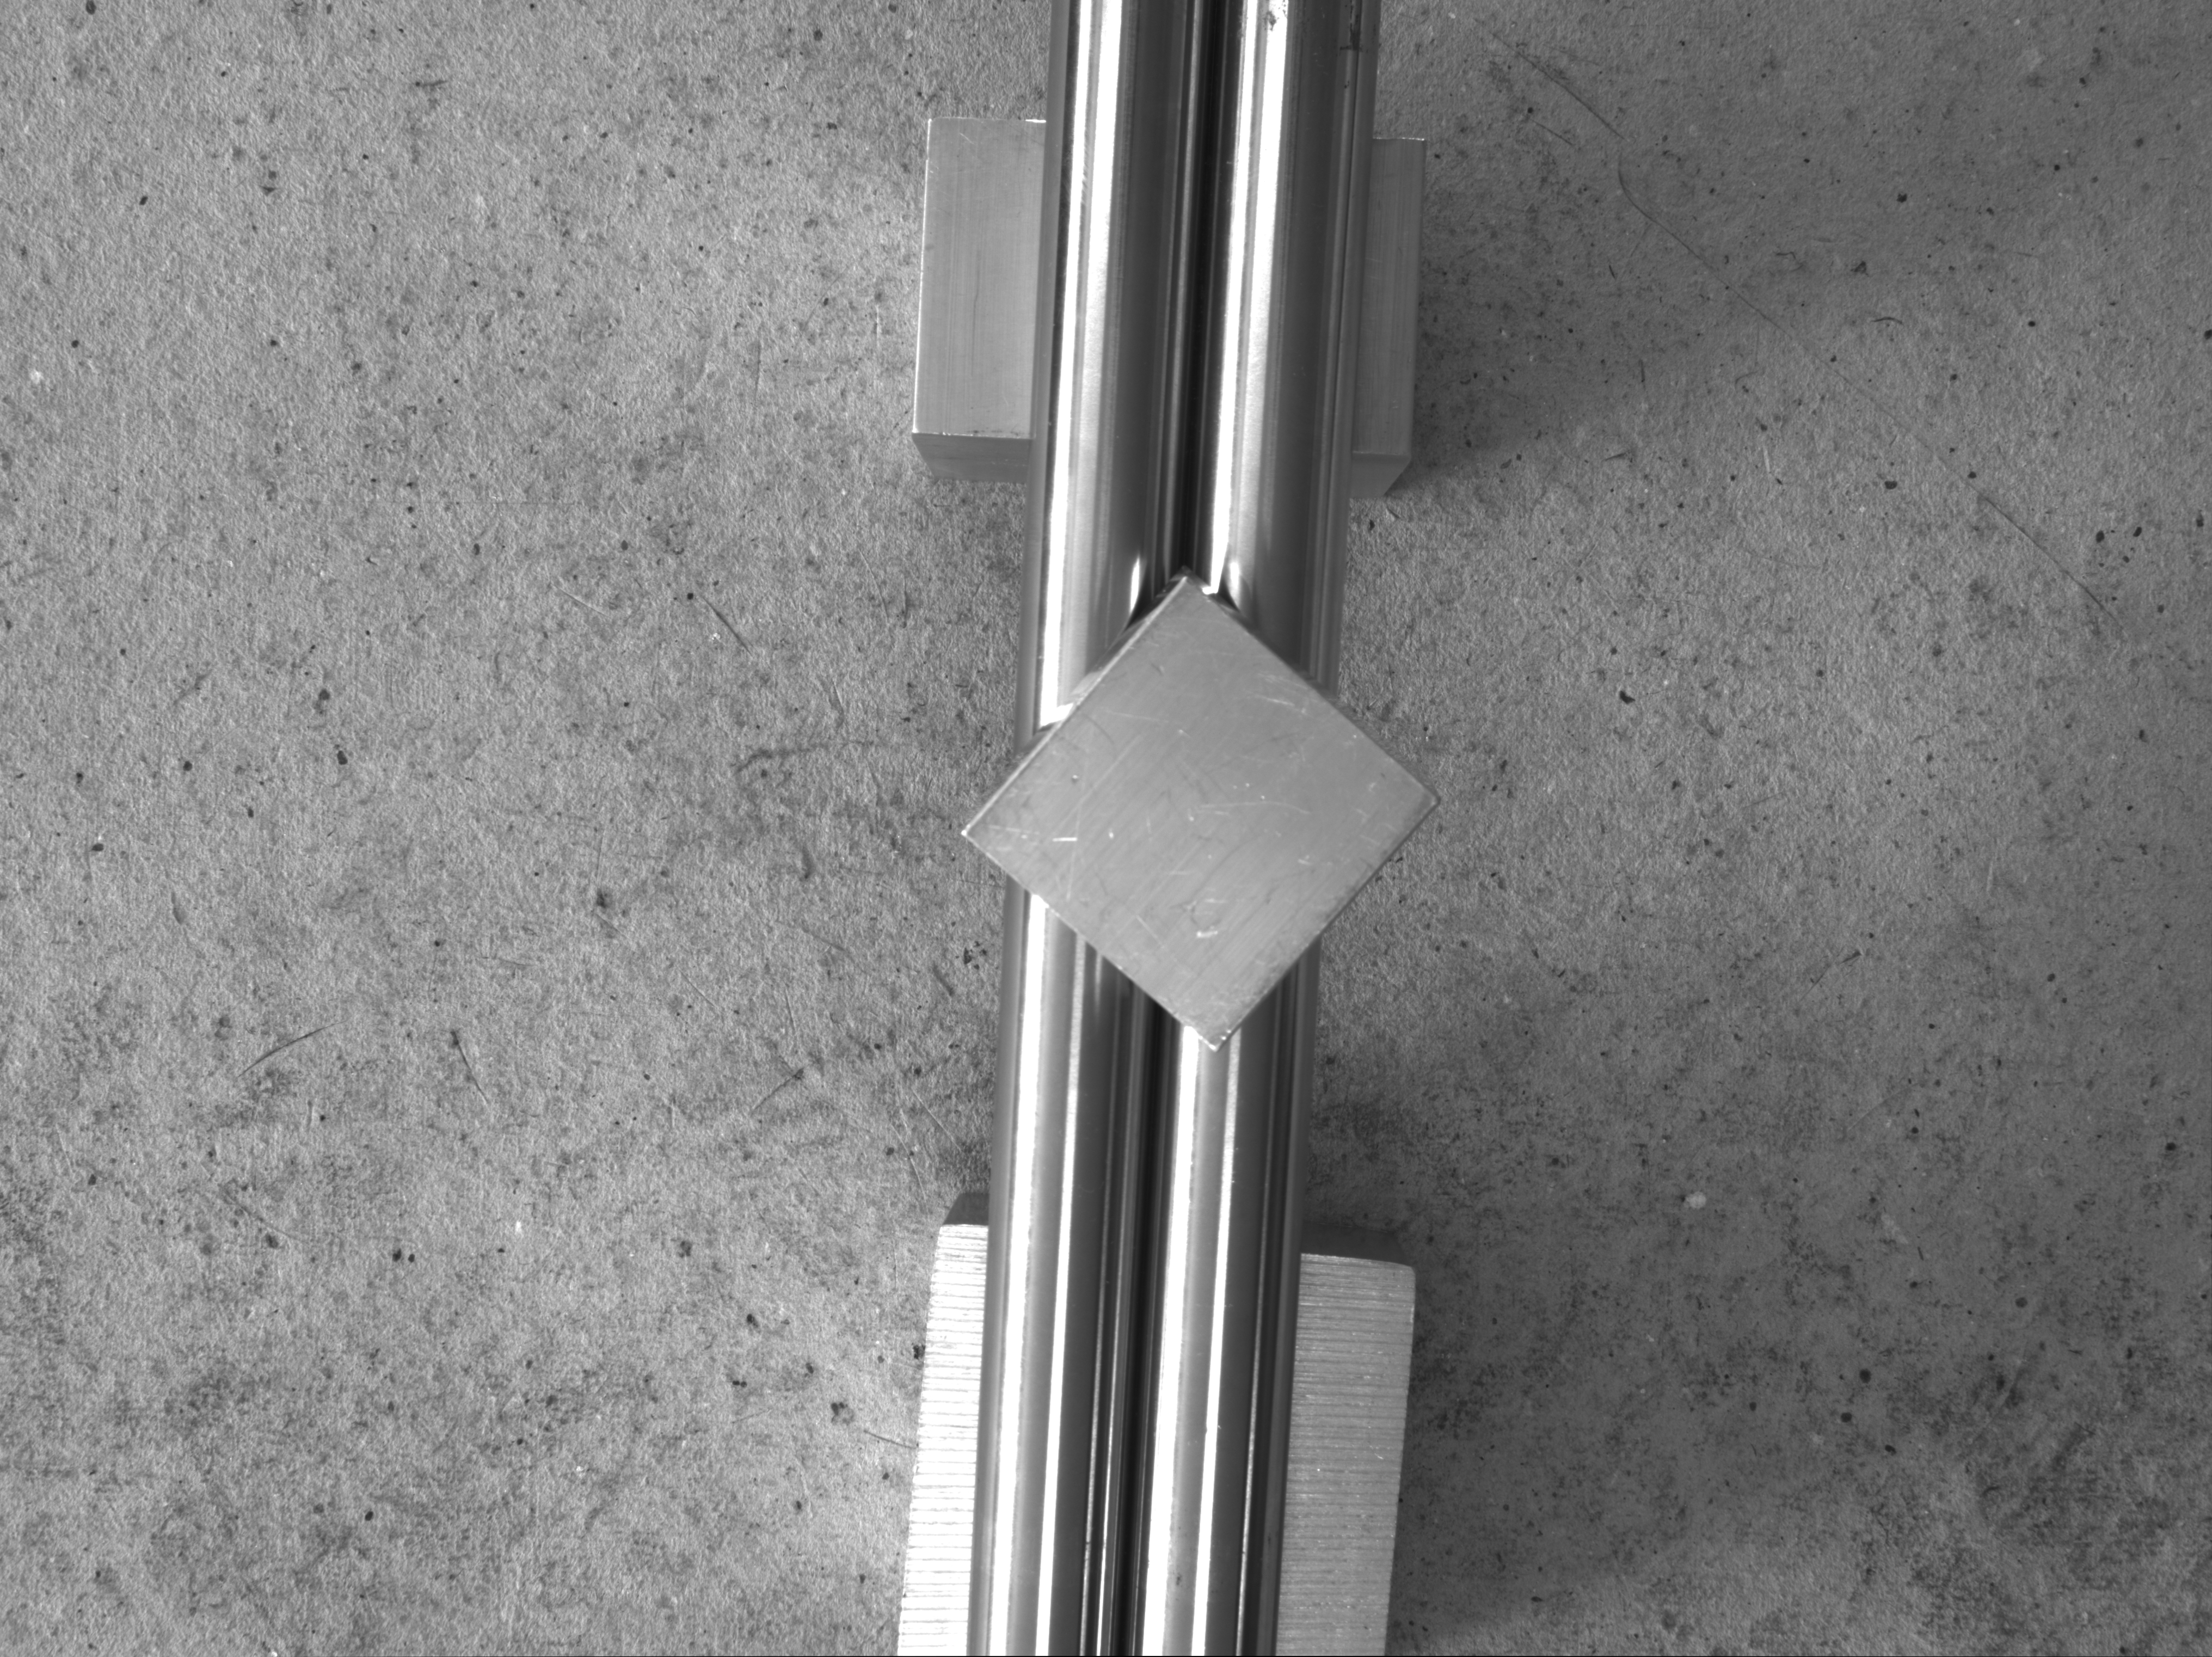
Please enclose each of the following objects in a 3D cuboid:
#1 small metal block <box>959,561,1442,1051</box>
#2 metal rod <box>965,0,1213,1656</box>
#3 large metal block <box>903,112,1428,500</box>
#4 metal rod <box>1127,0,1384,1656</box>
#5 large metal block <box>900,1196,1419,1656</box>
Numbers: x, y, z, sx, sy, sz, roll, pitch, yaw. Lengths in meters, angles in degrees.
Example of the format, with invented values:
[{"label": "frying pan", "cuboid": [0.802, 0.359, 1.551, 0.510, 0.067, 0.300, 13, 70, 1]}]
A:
[{"label": "small metal block", "cuboid": [0.014, -0.004, 0.548, 0.050, 0.025, 0.050, 41, 96, -5]}, {"label": "metal rod", "cuboid": [-0.003, -0.005, 0.573, 0.025, 0.025, 0.300, 3, 97, 0]}, {"label": "large metal block", "cuboid": [0.010, -0.086, 0.619, 0.080, 0.080, 0.050, 3, 90, 0]}, {"label": "metal rod", "cuboid": [0.023, -0.004, 0.573, 0.025, 0.025, 0.300, 3, 97, 0]}, {"label": "large metal block", "cuboid": [0.009, 0.108, 0.633, 0.080, 0.050, 0.080, 5, 90, 0]}]
